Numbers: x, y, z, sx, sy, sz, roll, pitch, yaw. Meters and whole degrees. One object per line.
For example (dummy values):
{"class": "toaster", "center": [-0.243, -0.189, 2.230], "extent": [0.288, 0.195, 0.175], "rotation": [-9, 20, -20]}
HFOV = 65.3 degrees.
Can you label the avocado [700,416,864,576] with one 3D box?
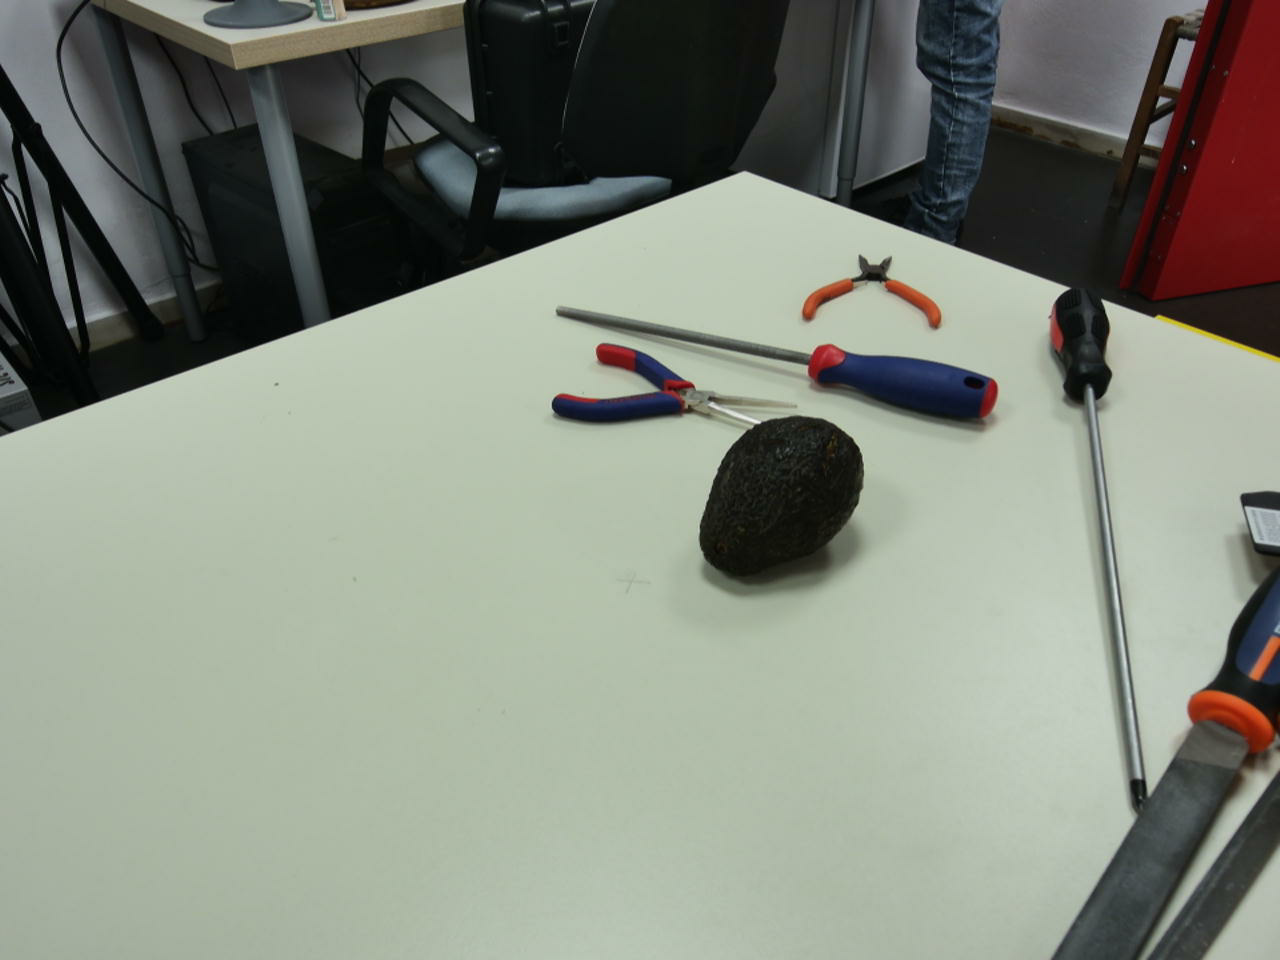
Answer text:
{"class": "avocado", "center": [0.070, 0.004, 0.510], "extent": [0.090, 0.069, 0.070], "rotation": [-9, 37, -12]}
